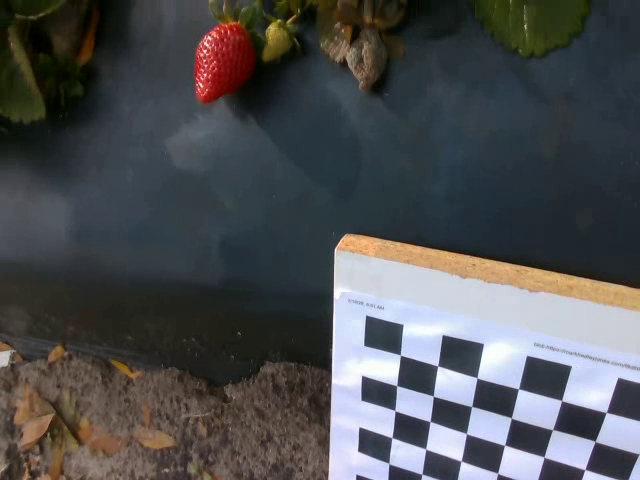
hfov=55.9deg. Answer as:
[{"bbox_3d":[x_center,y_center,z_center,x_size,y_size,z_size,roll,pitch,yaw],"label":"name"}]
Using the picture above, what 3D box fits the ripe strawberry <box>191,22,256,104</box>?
[{"bbox_3d":[-0.063,-0.105,0.363,0.045,0.058,0.051,15,-16,19],"label":"ripe strawberry"}]
